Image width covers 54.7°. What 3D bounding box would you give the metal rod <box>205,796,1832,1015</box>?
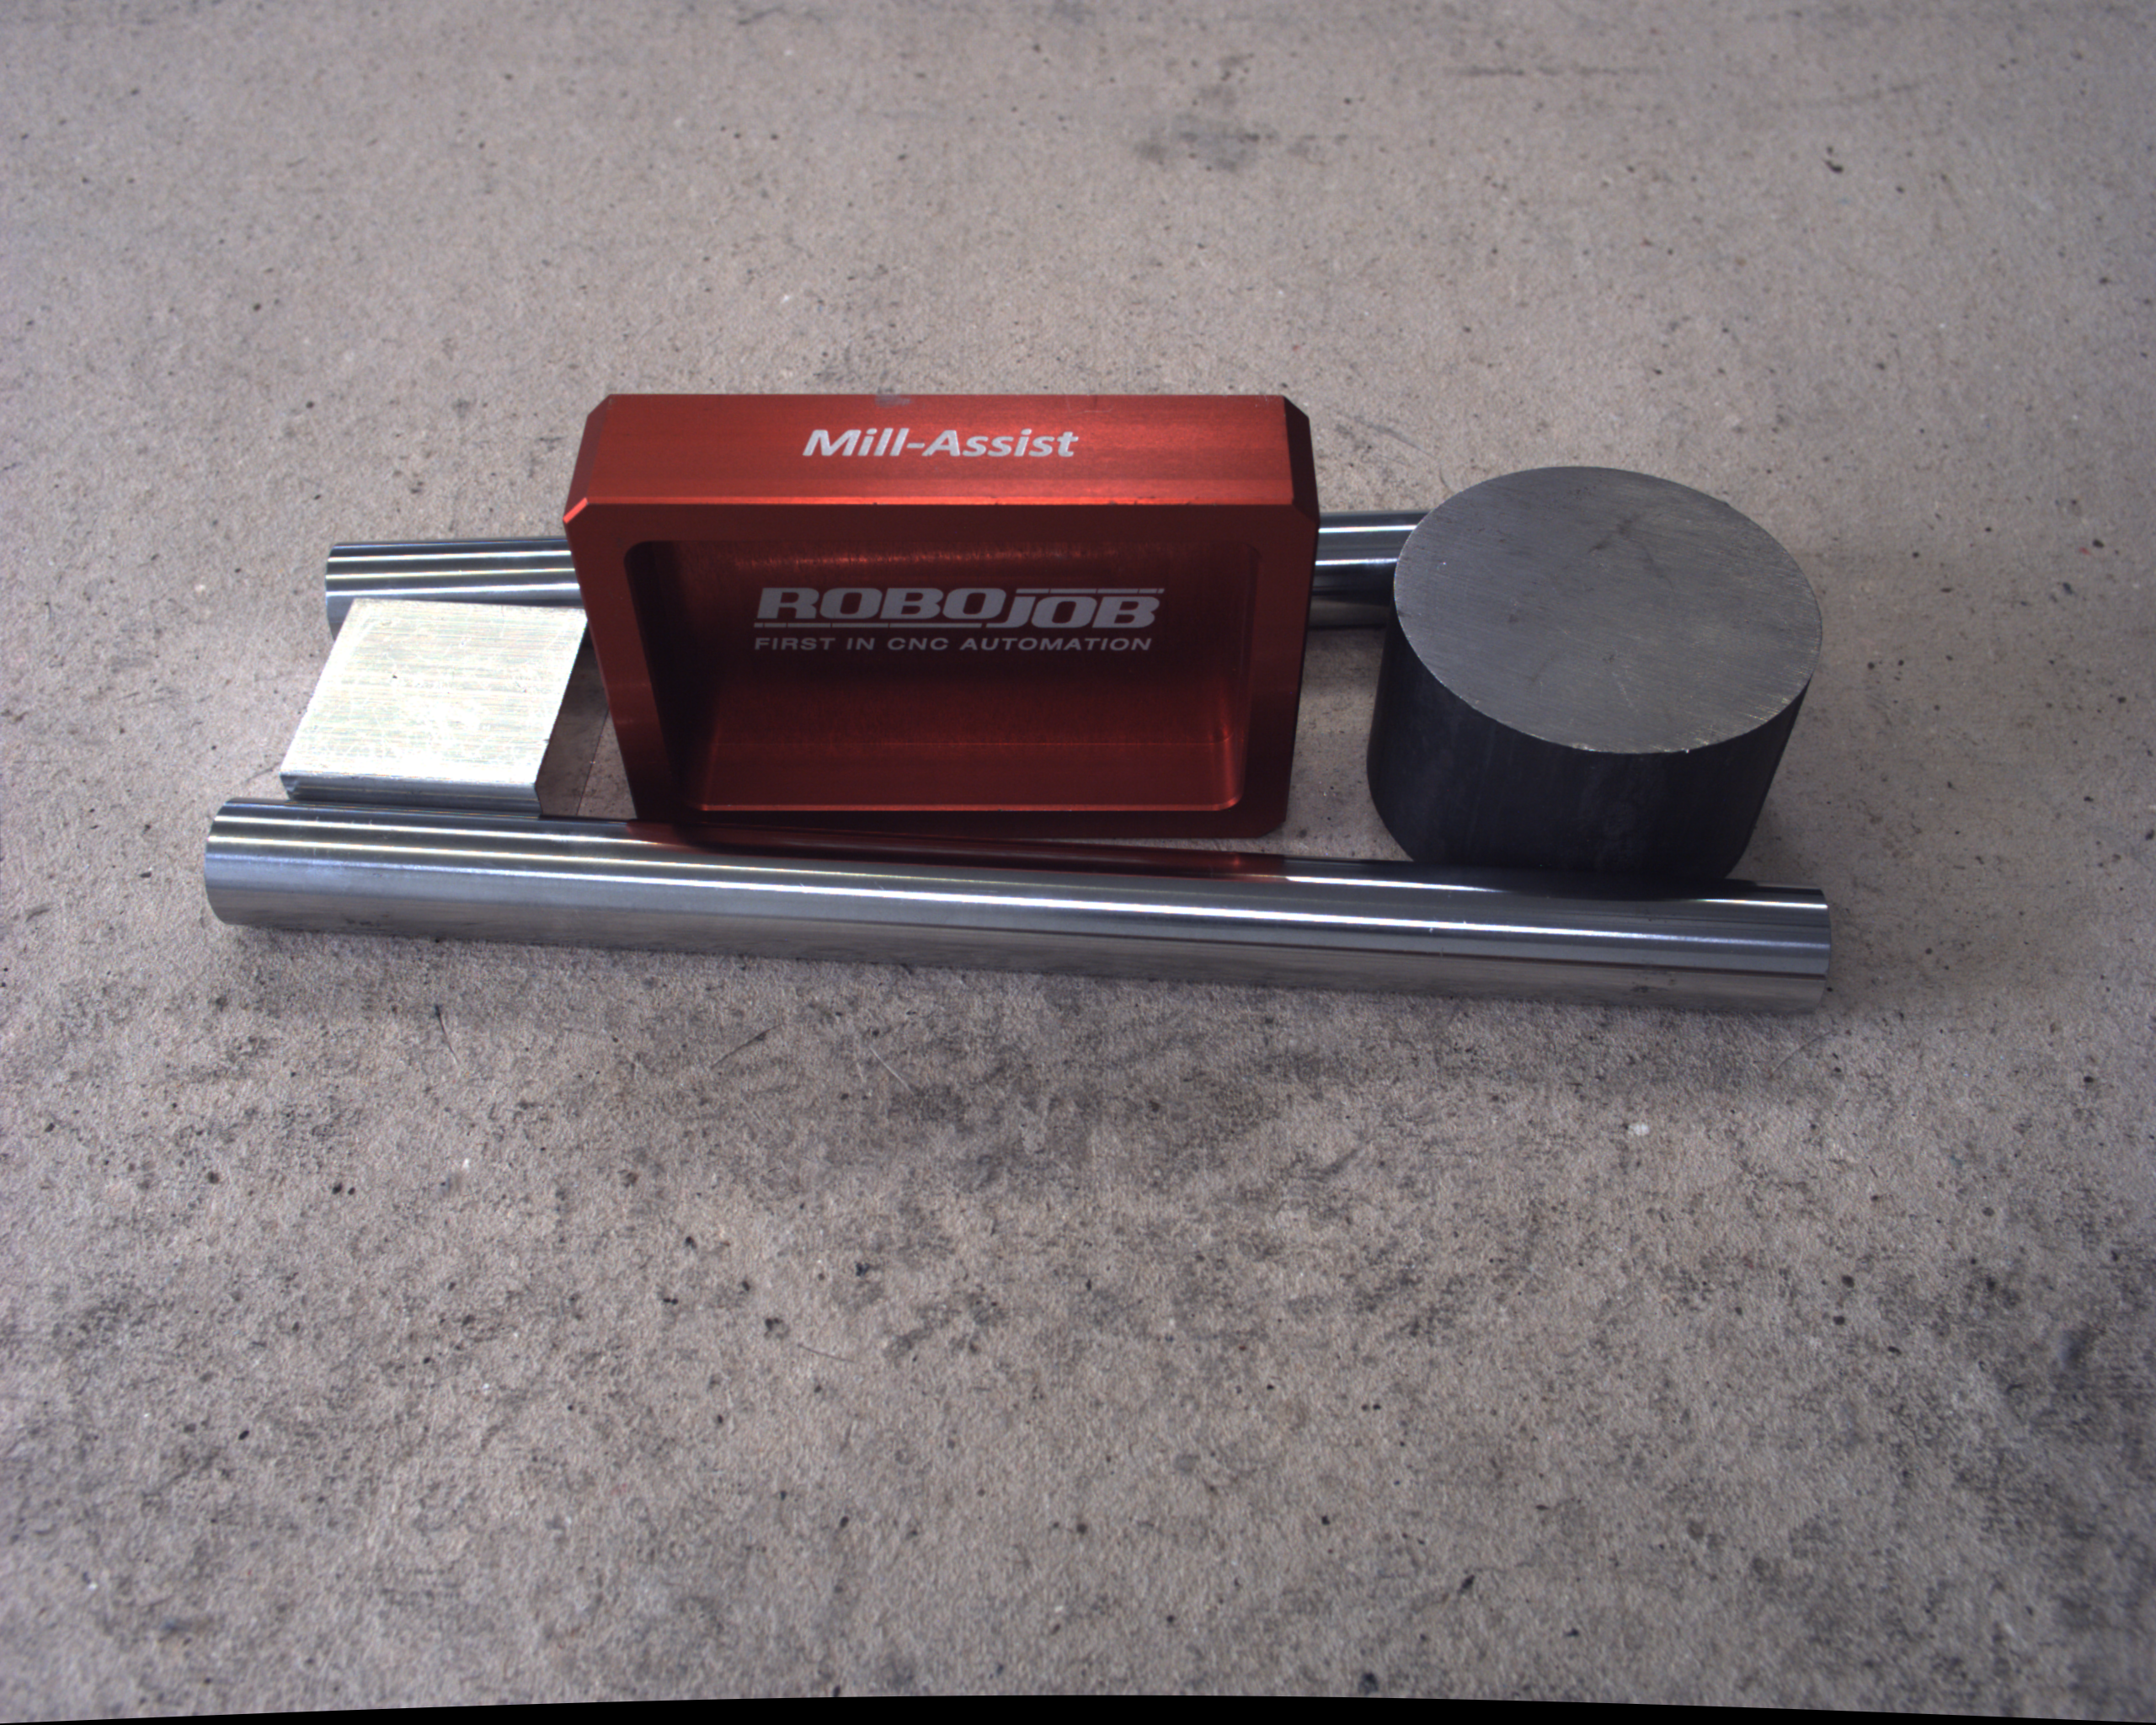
[{"bbox_3d":[-0.013,0.008,0.398,0.302,0.025,0.025,3,50,2],"label":"metal rod"}]

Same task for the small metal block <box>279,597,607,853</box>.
[{"bbox_3d":[-0.127,-0.027,0.427,0.050,0.025,0.050,3,50,3],"label":"small metal block"}]

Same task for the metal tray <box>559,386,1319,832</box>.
[{"bbox_3d":[-0.024,-0.046,0.399,0.131,0.090,0.030,0,50,0],"label":"metal tray"}]

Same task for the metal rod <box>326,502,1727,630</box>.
[{"bbox_3d":[-0.008,-0.062,0.457,0.302,0.025,0.025,-2,50,-2],"label":"metal rod"}]

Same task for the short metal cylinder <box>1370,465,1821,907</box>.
[{"bbox_3d":[0.101,-0.034,0.417,0.081,0.050,0.080,0,50,0],"label":"short metal cylinder"}]
